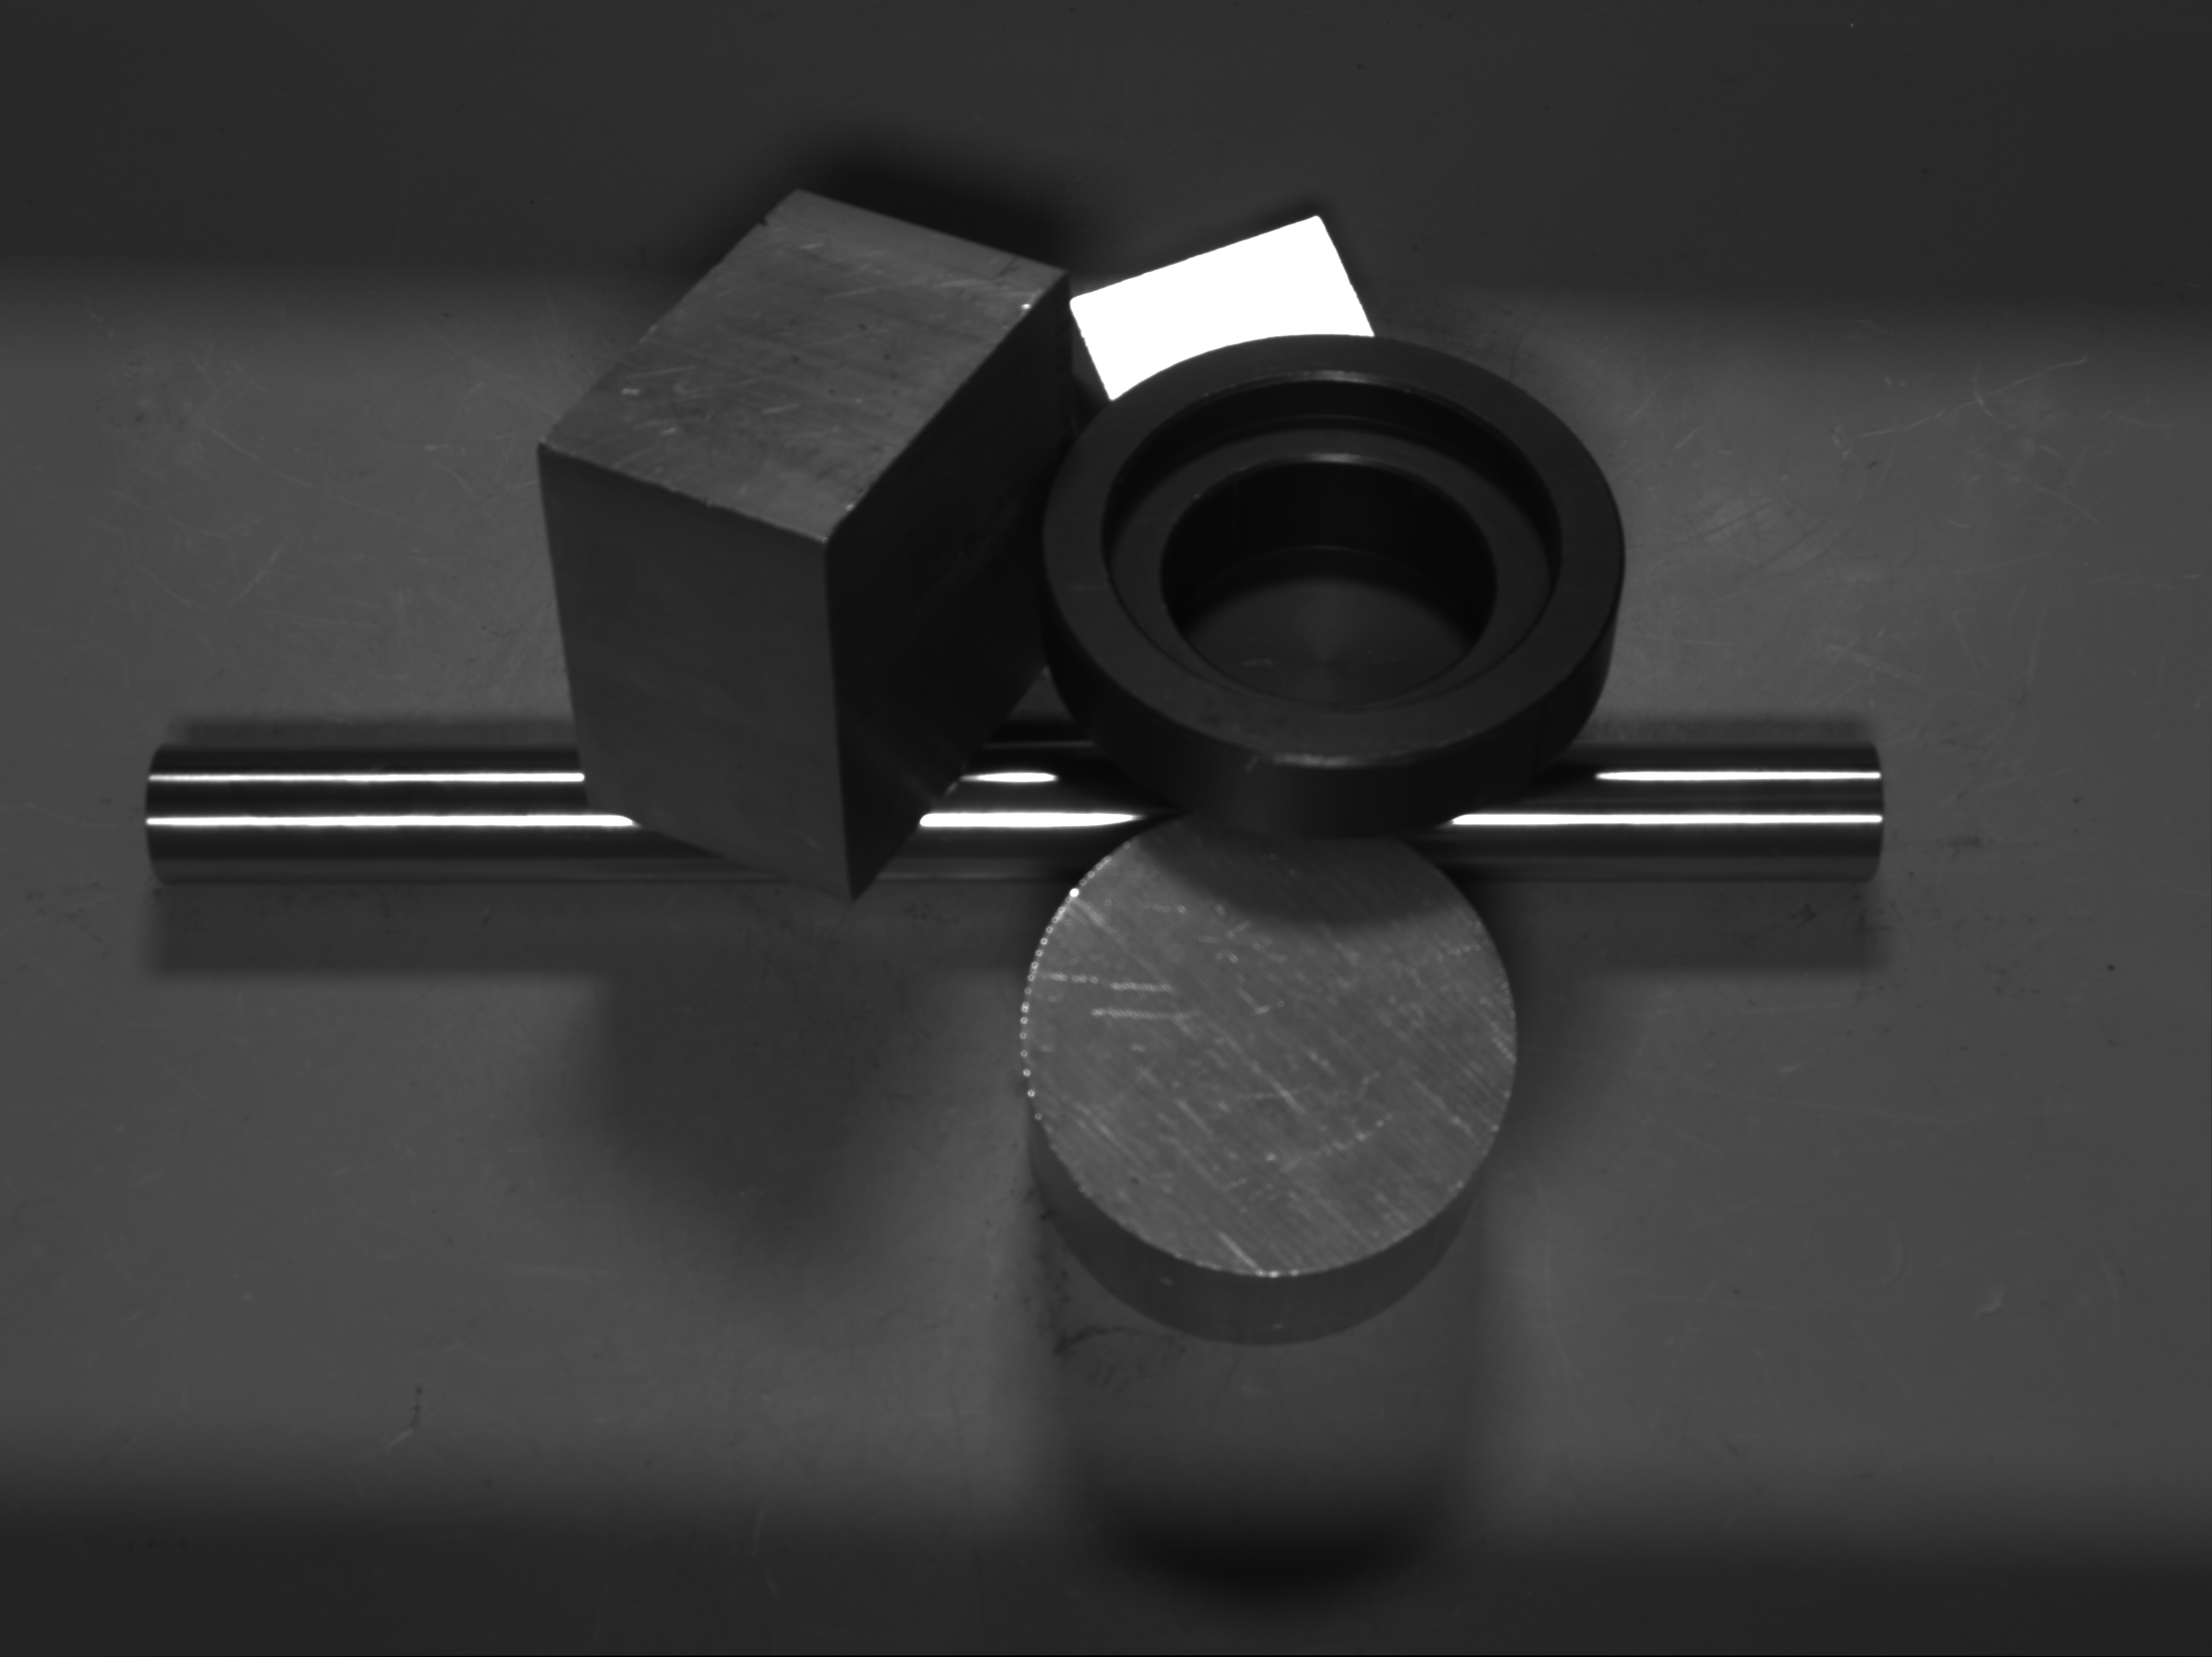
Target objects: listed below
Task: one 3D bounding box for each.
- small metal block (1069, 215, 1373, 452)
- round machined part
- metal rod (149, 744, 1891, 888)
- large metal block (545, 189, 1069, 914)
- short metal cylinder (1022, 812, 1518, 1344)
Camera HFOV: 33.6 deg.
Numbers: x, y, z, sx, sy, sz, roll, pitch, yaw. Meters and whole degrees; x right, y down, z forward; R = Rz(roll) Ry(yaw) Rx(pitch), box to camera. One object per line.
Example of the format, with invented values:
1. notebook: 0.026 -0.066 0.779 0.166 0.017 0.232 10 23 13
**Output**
1. small metal block: 0.025 -0.078 0.673 0.050 0.025 0.050 -20 71 -7
2. round machined part: 0.038 -0.036 0.628 0.098 0.042 0.098 0 52 0
3. metal rod: -0.015 -0.002 0.643 0.300 0.025 0.025 0 70 0
4. large metal block: -0.047 -0.047 0.616 0.050 0.080 0.080 20 48 19
5. short metal cylinder: 0.026 0.042 0.614 0.080 0.050 0.080 0 70 0
